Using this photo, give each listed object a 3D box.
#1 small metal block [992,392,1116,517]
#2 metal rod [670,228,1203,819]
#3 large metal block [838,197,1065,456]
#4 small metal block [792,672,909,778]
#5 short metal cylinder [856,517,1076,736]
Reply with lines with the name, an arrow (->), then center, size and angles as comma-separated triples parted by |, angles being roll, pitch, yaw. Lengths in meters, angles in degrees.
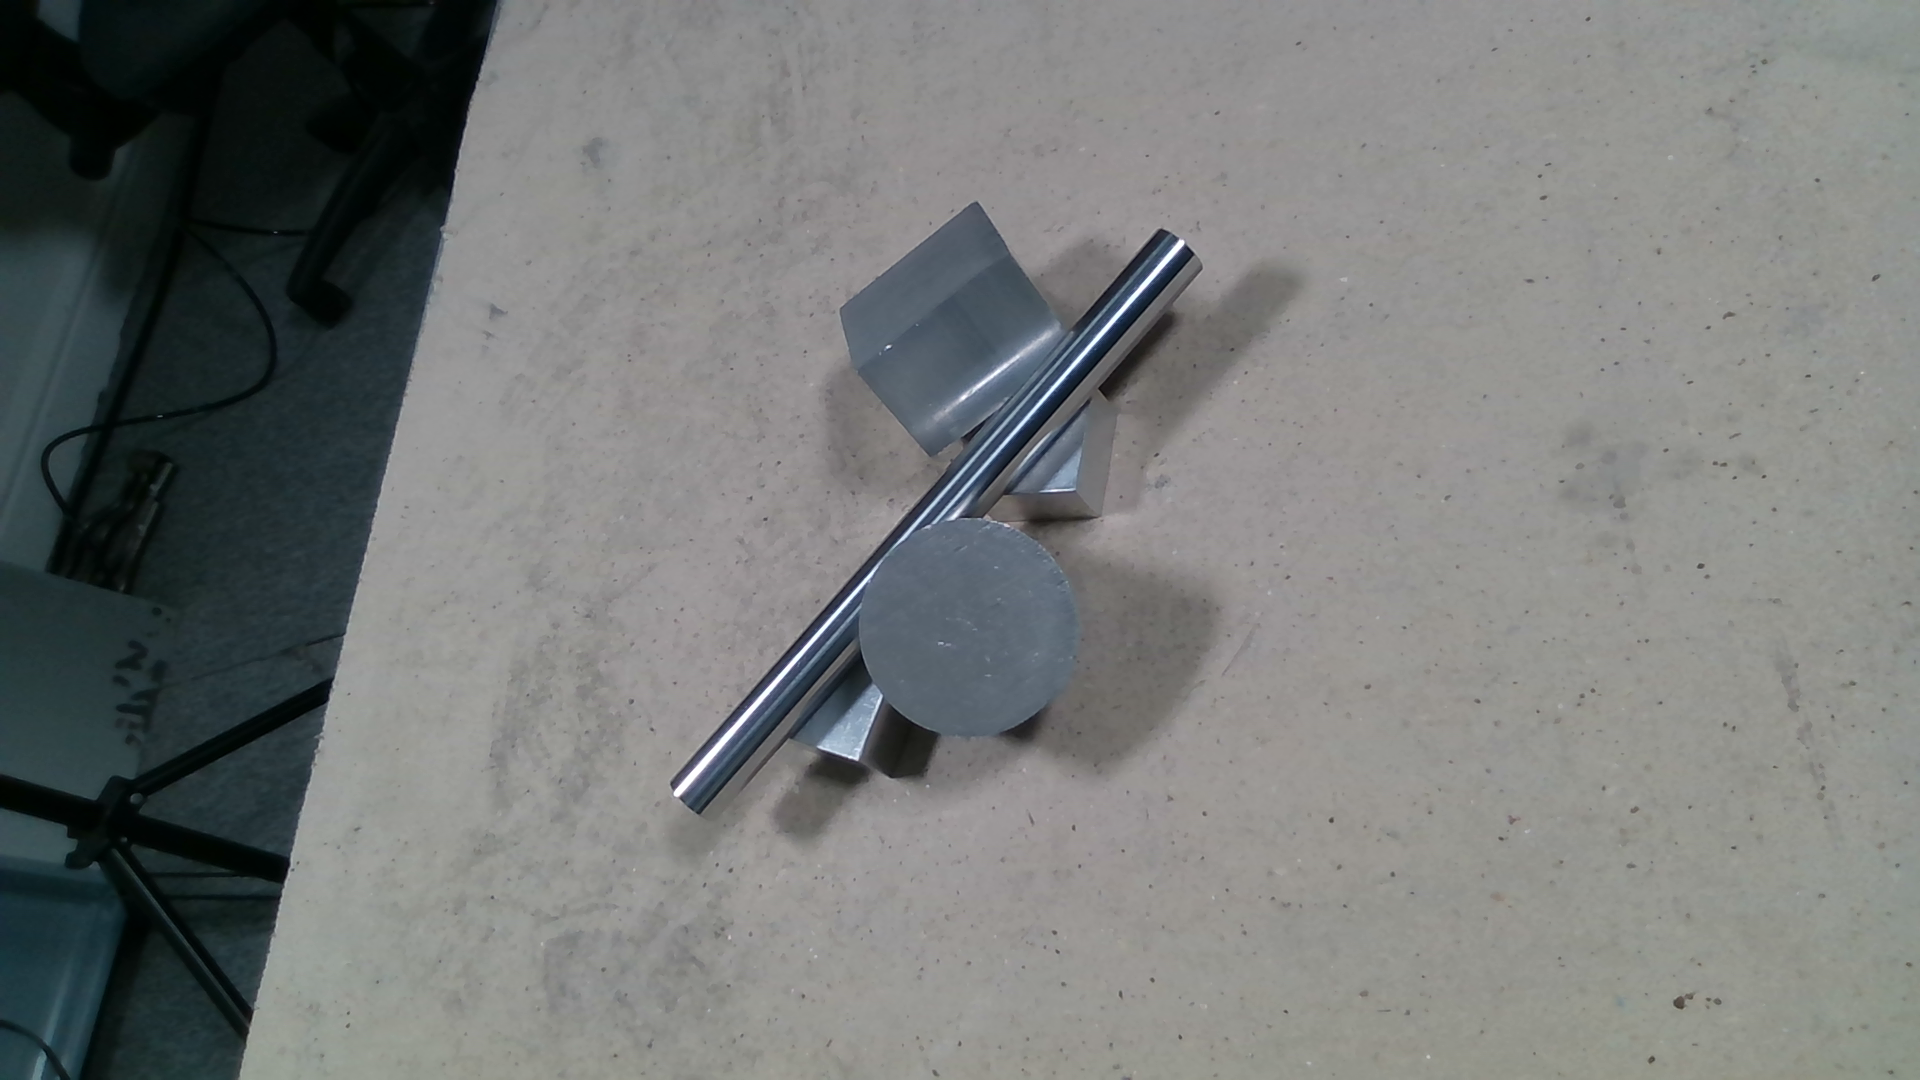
small metal block -> 0.035, -0.038, 0.584 | 0.050, 0.025, 0.050 | -2, 64, 31
metal rod -> -0.010, -0.006, 0.563 | 0.300, 0.025, 0.025 | -48, 51, 1
large metal block -> -0.004, -0.095, 0.601 | 0.080, 0.050, 0.080 | -37, 28, 11
small metal block -> -0.046, 0.067, 0.579 | 0.050, 0.025, 0.050 | 11, 72, 35
short metal cylinder -> 0.002, 0.031, 0.526 | 0.080, 0.050, 0.080 | 0, 91, -1
